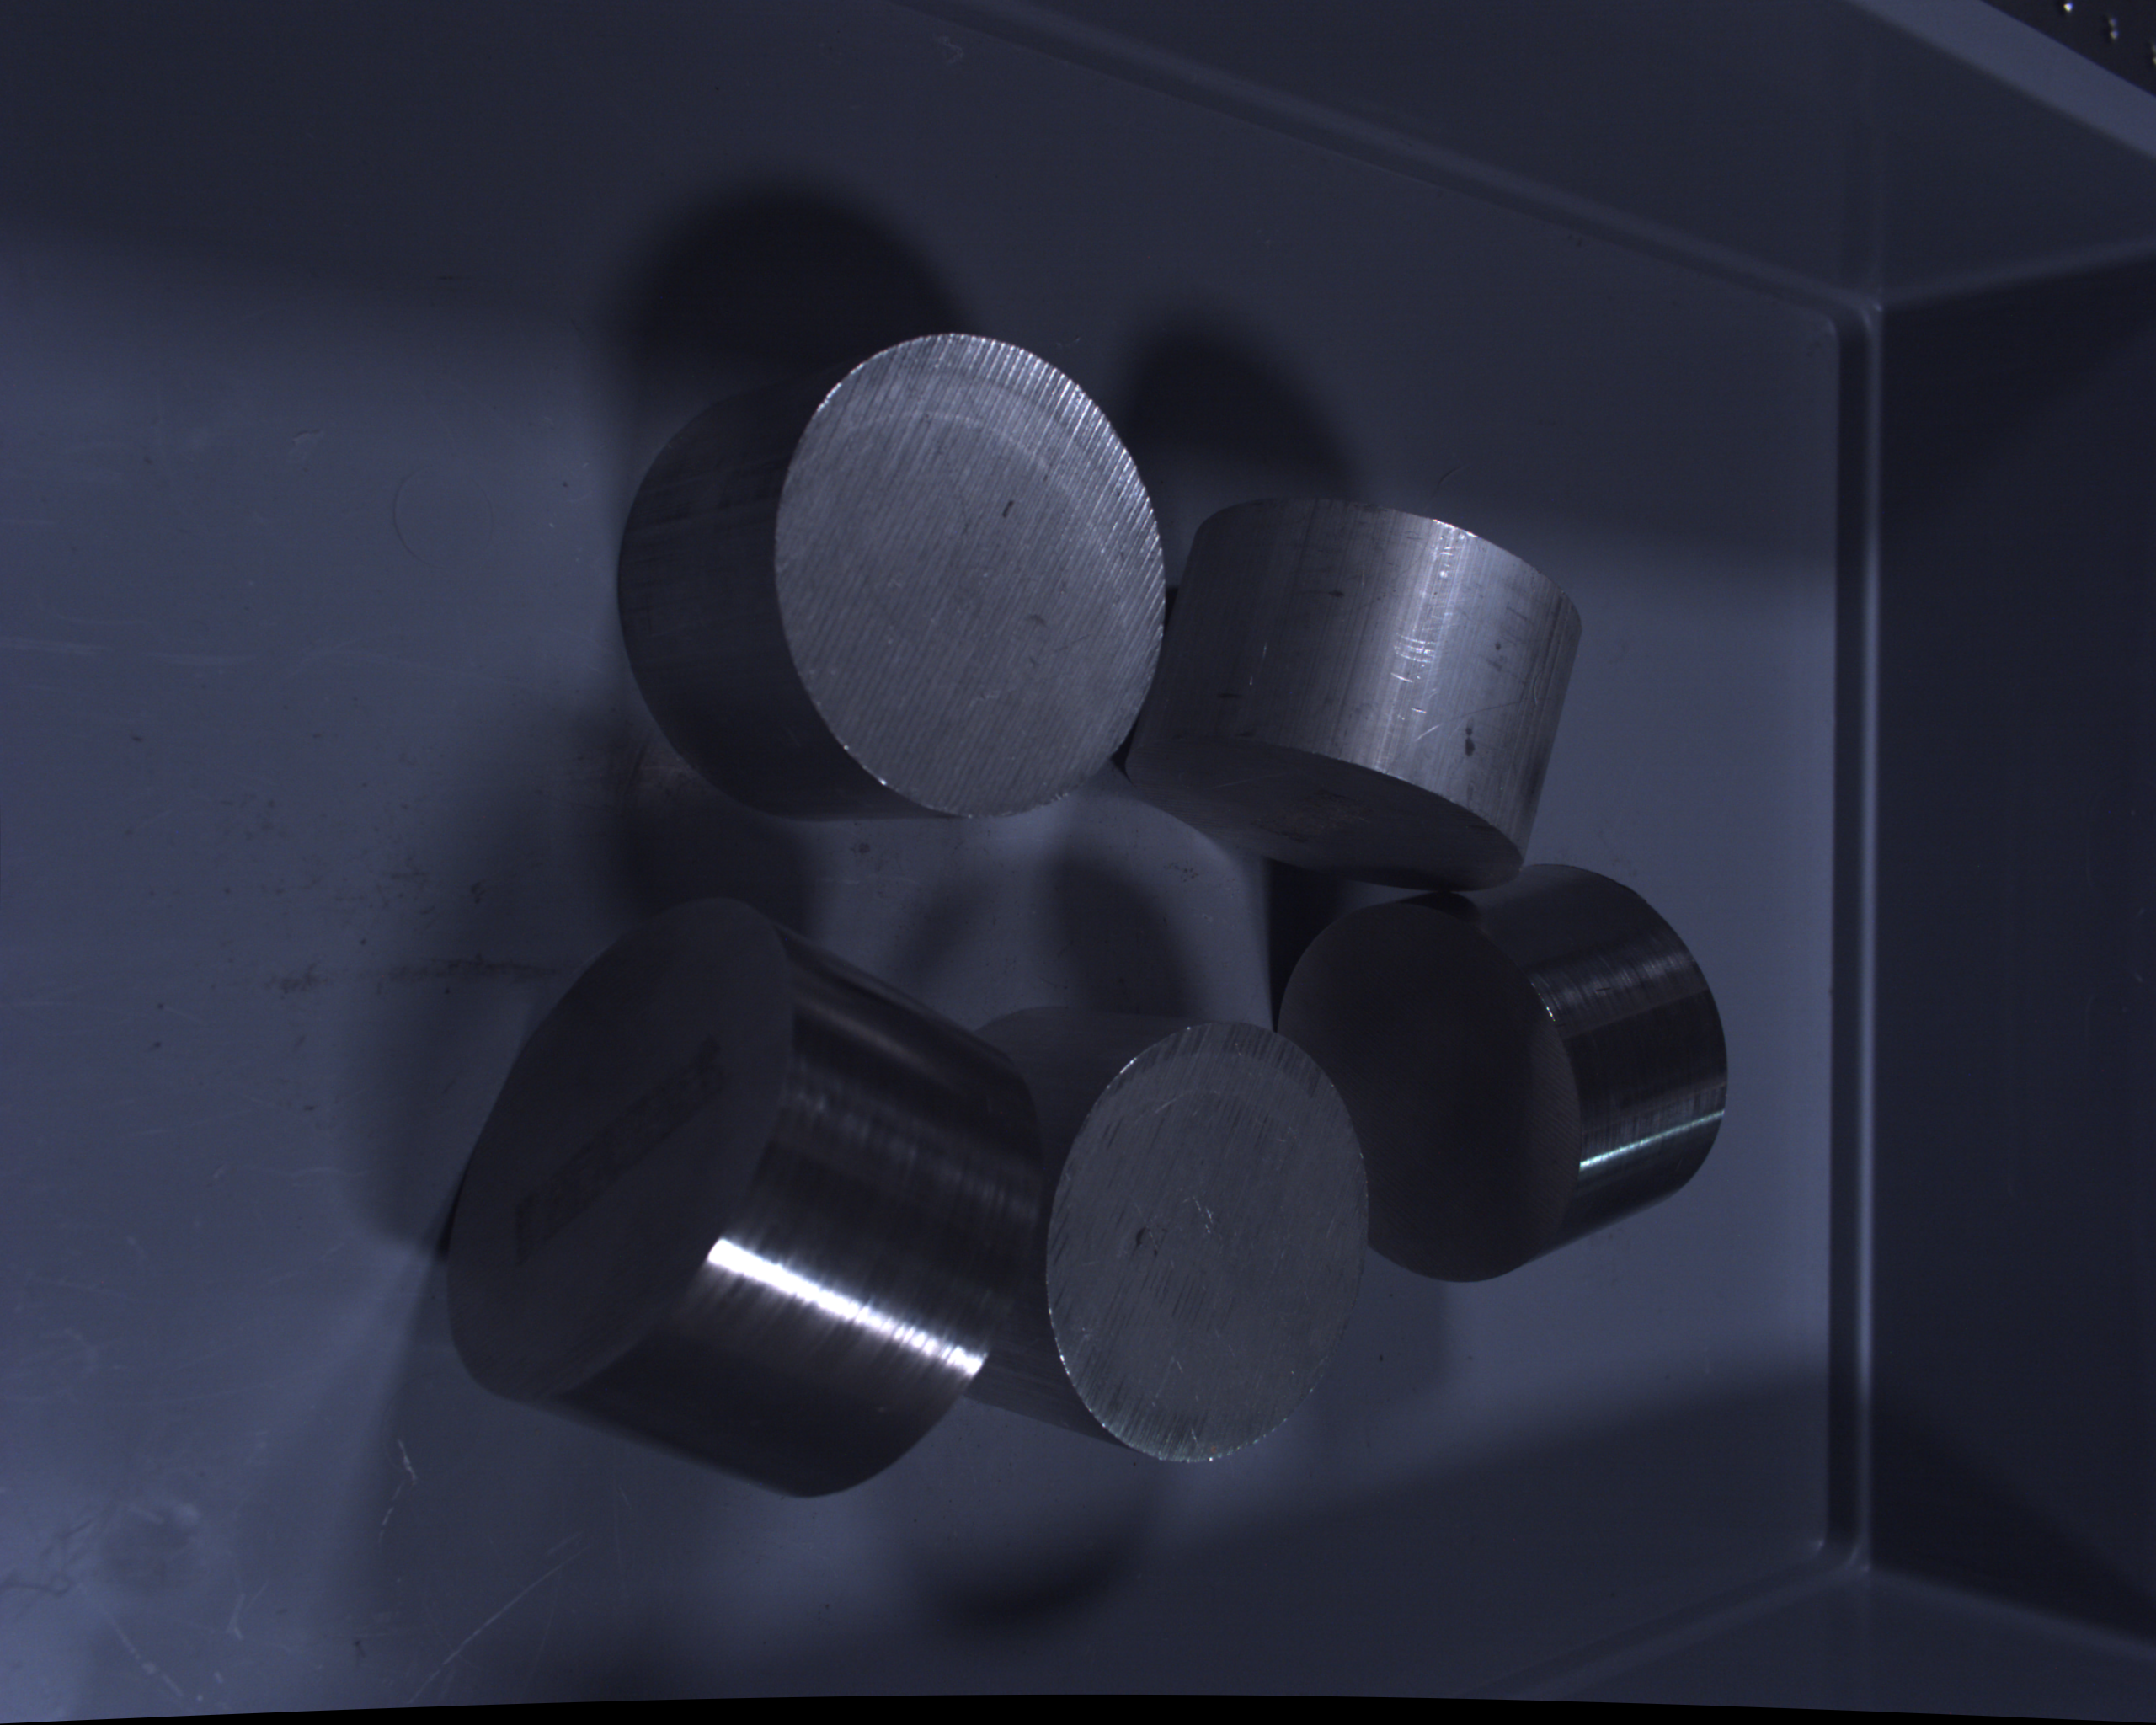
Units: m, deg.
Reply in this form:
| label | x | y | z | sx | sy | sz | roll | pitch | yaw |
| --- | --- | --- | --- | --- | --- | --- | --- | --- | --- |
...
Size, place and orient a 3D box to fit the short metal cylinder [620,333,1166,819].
| label | x | y | z | sx | sy | sz | roll | pitch | yaw |
| --- | --- | --- | --- | --- | --- | --- | --- | --- | --- |
| short metal cylinder | -0.031 | -0.047 | 0.363 | 0.081 | 0.050 | 0.079 | 0 | 90 | -40 |

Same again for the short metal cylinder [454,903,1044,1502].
| label | x | y | z | sx | sy | sz | roll | pitch | yaw |
| --- | --- | --- | --- | --- | --- | --- | --- | --- | --- |
| short metal cylinder | -0.052 | 0.053 | 0.326 | 0.050 | 0.080 | 0.080 | 34 | 69 | -35 |

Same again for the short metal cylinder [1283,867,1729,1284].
| label | x | y | z | sx | sy | sz | roll | pitch | yaw |
| --- | --- | --- | --- | --- | --- | --- | --- | --- | --- |
| short metal cylinder | 0.090 | 0.044 | 0.447 | 0.050 | 0.080 | 0.079 | -12 | 98 | -40 |

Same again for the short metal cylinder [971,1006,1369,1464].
| label | x | y | z | sx | sy | sz | roll | pitch | yaw |
| --- | --- | --- | --- | --- | --- | --- | --- | --- | --- |
| short metal cylinder | 0.010 | 0.069 | 0.398 | 0.081 | 0.050 | 0.079 | 0 | 90 | -40 |

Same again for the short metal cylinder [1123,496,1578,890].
| label | x | y | z | sx | sy | sz | roll | pitch | yaw |
| --- | --- | --- | --- | --- | --- | --- | --- | --- | --- |
| short metal cylinder | 0.055 | -0.032 | 0.418 | 0.080 | 0.080 | 0.050 | 27 | 73 | -37 |
